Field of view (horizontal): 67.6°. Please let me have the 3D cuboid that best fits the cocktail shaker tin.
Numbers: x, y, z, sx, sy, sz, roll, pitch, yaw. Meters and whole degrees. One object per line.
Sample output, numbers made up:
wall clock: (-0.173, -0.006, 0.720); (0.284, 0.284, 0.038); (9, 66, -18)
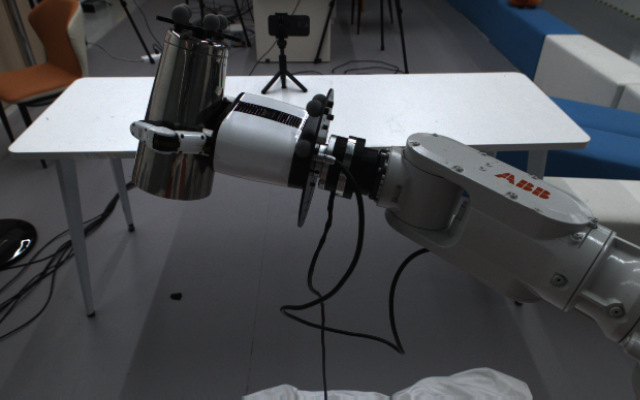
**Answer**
cocktail shaker tin: (-0.150, -0.094, 0.543); (0.093, 0.170, 0.093); (15, 20, -5)
